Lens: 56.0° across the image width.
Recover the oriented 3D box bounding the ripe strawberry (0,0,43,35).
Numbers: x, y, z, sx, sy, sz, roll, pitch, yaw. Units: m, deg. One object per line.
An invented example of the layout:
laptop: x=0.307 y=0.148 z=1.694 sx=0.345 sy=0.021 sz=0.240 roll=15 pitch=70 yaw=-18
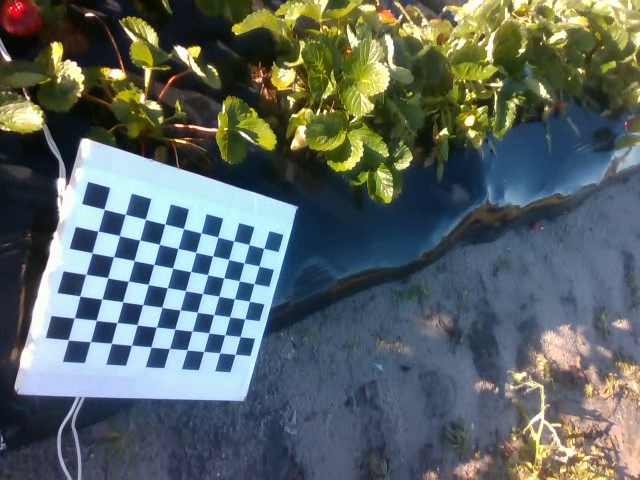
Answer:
ripe strawberry: x=-0.381 y=-0.288 z=0.763 sx=0.040 sy=0.080 sz=0.063 roll=-23 pitch=-51 yaw=20
